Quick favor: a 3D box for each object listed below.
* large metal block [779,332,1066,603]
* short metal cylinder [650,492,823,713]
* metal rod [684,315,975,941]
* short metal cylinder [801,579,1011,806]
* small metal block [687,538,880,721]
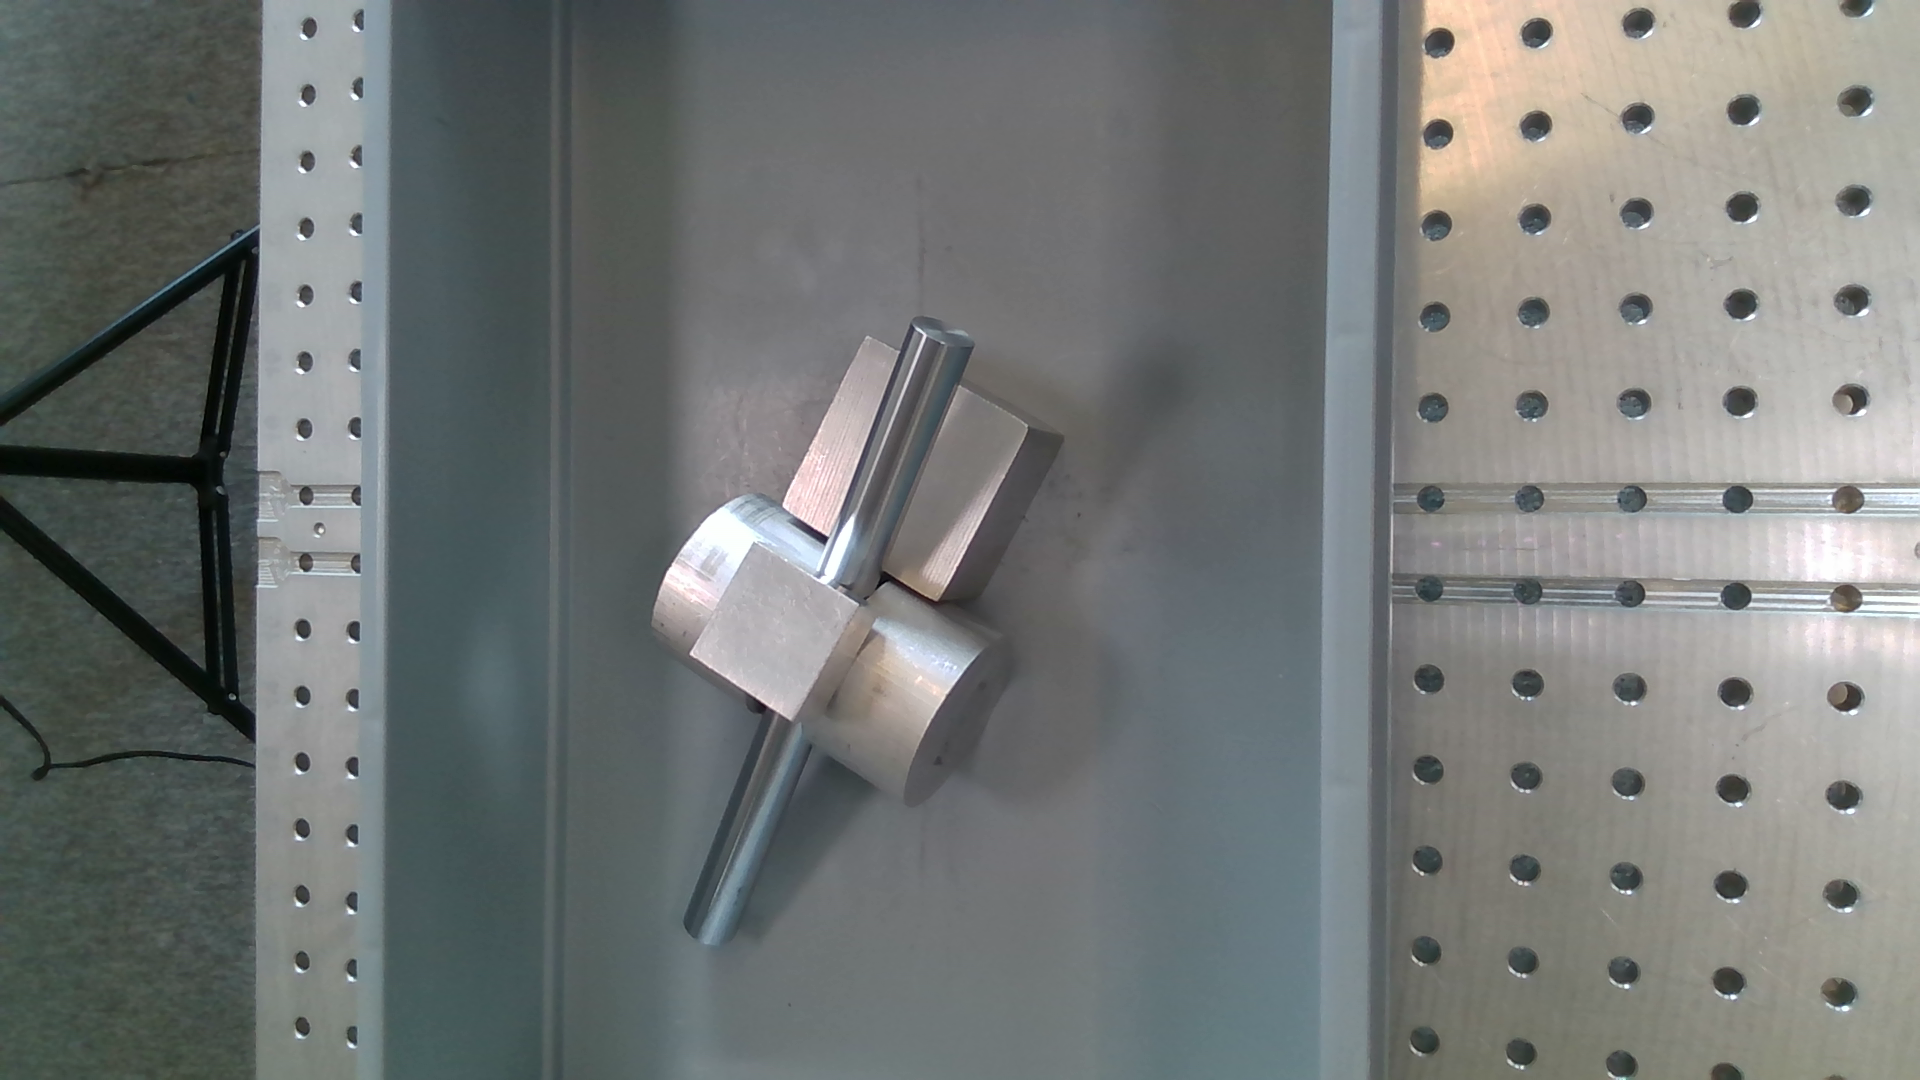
[{"bbox_3d":[-0.015,-0.030,0.575,0.080,0.050,0.080,31,101,17],"label":"large metal block"},{"bbox_3d":[-0.086,0.026,0.587,0.050,0.080,0.080,32,101,17],"label":"short metal cylinder"},{"bbox_3d":[-0.060,0.048,0.565,0.025,0.025,0.301,32,116,17],"label":"metal rod"},{"bbox_3d":[-0.021,0.061,0.564,0.050,0.080,0.080,29,100,18],"label":"short metal cylinder"},{"bbox_3d":[-0.067,0.035,0.526,0.050,0.025,0.050,31,92,18],"label":"small metal block"}]
